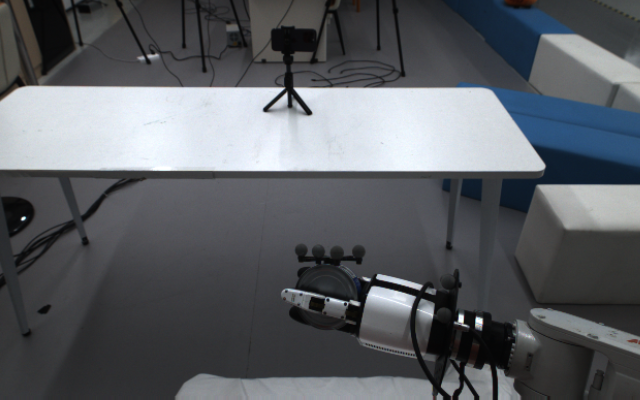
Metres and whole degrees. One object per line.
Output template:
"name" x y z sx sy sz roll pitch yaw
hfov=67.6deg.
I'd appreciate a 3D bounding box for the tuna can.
"tuna can" 0.014 0.125 0.639 0.085 0.085 0.034 15 2 18
